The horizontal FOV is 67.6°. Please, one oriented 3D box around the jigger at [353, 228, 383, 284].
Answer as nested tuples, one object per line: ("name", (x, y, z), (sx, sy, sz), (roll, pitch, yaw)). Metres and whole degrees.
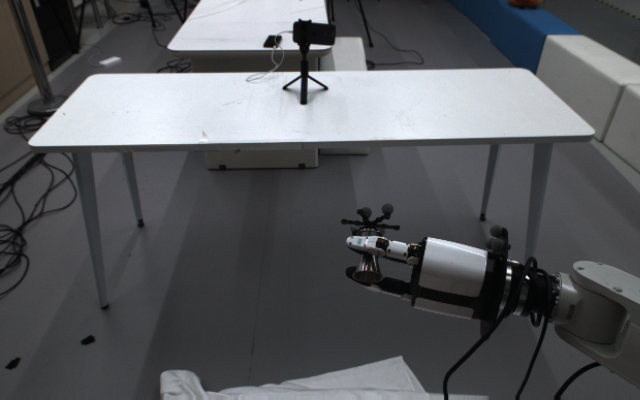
("jigger", (0.070, 0.081, 0.712), (0.043, 0.043, 0.071), (5, 61, 4))
